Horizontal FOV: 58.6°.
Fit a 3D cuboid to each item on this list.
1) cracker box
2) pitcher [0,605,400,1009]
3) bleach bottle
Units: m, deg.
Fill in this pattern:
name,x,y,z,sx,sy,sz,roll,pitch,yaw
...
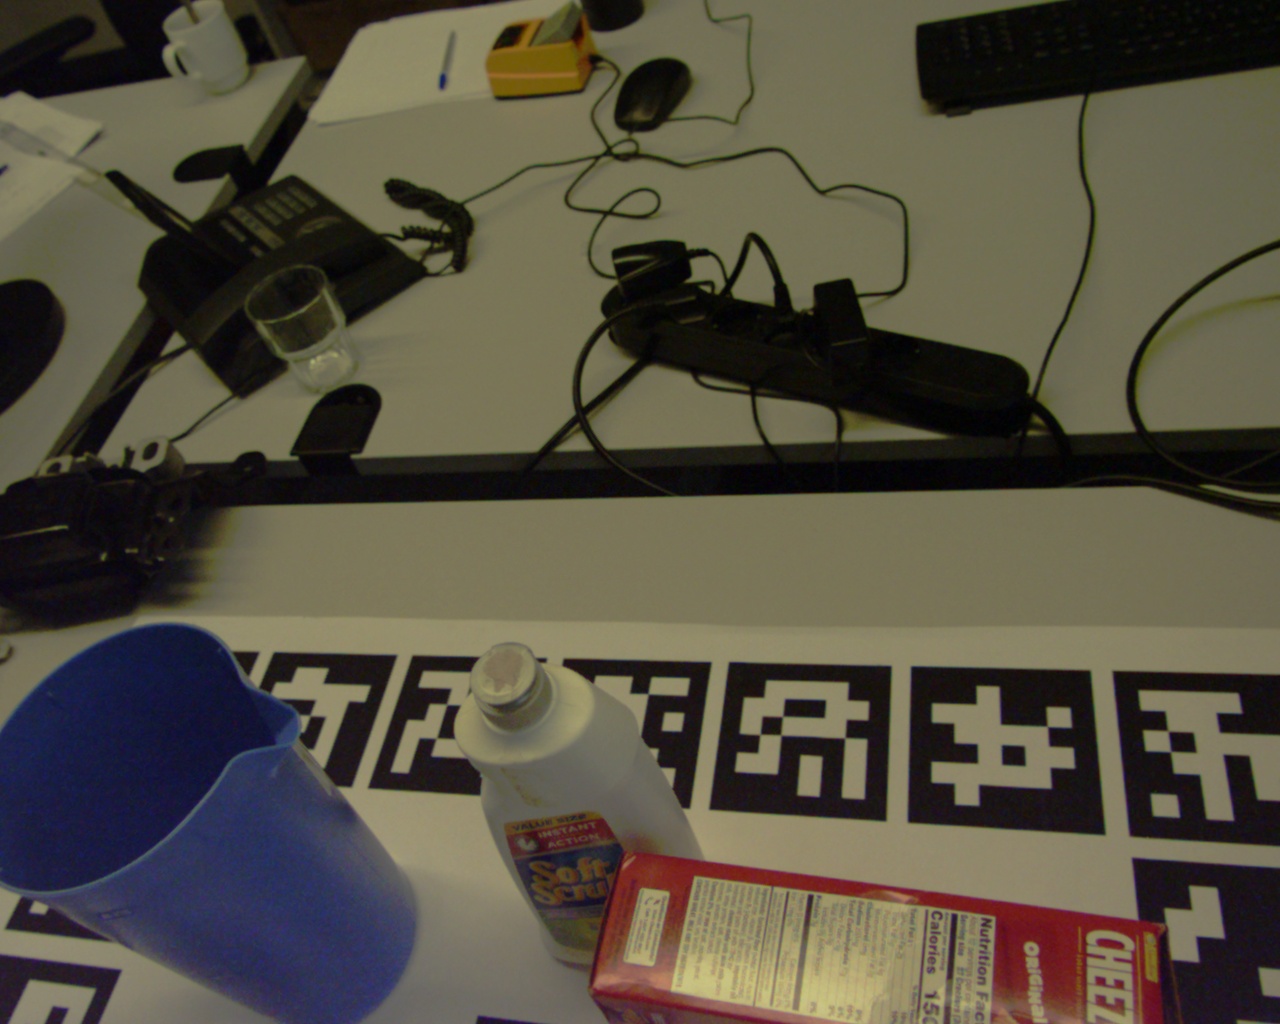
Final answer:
name,x,y,z,sx,sy,sz,roll,pitch,yaw
cracker box,0.104,0.229,0.517,0.215,0.163,0.072,0,46,20
pitcher,-0.228,0.175,0.612,0.189,0.241,0.134,-13,46,3
bleach bottle,-0.037,0.155,0.592,0.103,0.248,0.068,-1,48,18
